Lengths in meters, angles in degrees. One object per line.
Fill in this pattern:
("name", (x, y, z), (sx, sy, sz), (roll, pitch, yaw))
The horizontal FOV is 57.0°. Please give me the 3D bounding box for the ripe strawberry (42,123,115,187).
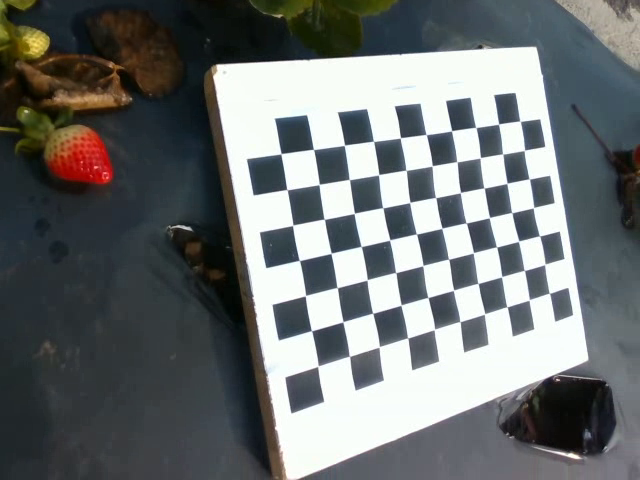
("ripe strawberry", (-0.133, -0.046, 0.329), (0.043, 0.035, 0.029), (44, -21, -14))
